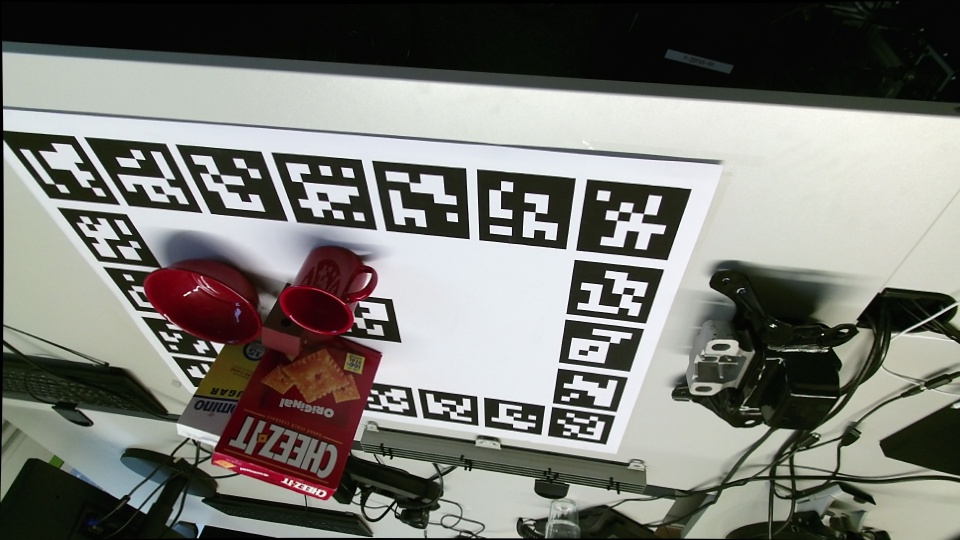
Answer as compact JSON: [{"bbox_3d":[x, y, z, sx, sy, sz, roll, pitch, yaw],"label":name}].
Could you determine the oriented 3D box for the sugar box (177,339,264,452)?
[{"bbox_3d":[-0.365,0.184,0.800,0.093,0.175,0.045,20,135,-9],"label":"sugar box"}]

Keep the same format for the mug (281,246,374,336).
[{"bbox_3d":[-0.187,0.024,0.662,0.117,0.081,0.093,-2,142,12],"label":"mug"}]

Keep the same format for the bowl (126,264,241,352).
[{"bbox_3d":[-0.387,0.043,0.734,0.162,0.055,0.162,6,135,6],"label":"bowl"}]

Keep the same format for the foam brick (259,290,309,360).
[{"bbox_3d":[-0.265,0.074,0.745,0.053,0.078,0.051,16,137,-5],"label":"foam brick"}]

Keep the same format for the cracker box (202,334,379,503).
[{"bbox_3d":[-0.258,0.197,0.765,0.165,0.212,0.072,27,136,-14],"label":"cracker box"}]
